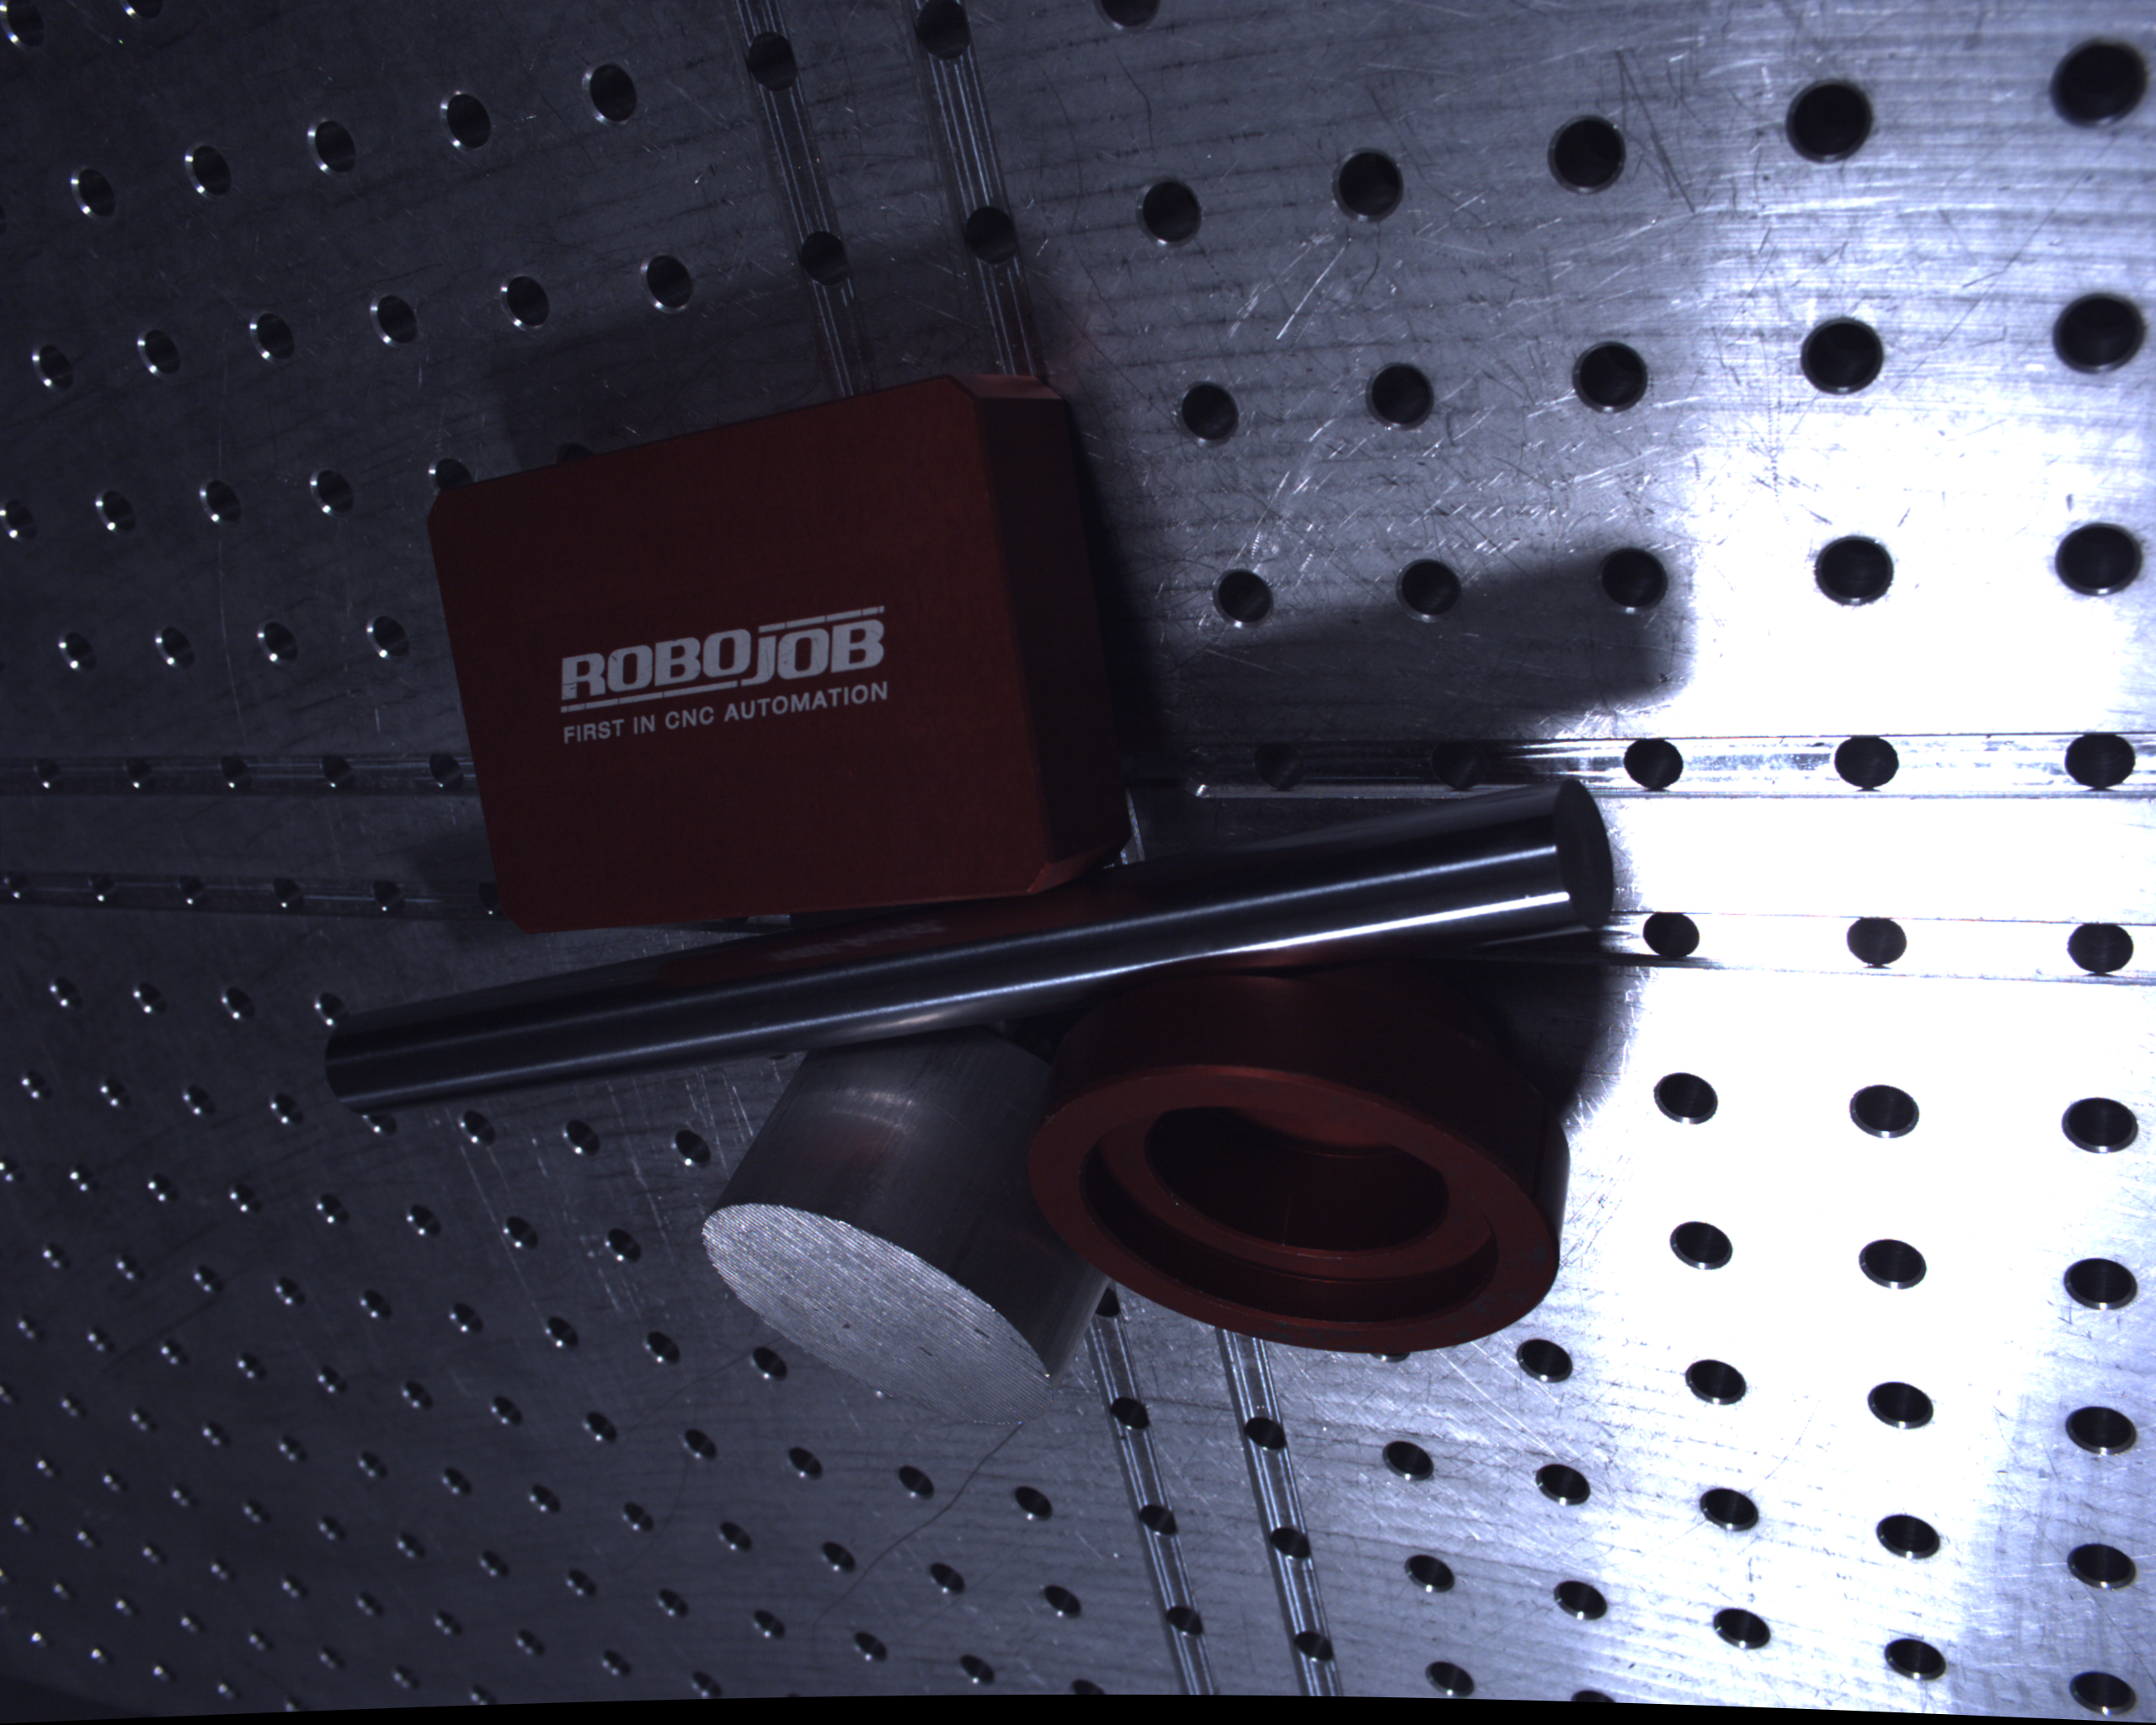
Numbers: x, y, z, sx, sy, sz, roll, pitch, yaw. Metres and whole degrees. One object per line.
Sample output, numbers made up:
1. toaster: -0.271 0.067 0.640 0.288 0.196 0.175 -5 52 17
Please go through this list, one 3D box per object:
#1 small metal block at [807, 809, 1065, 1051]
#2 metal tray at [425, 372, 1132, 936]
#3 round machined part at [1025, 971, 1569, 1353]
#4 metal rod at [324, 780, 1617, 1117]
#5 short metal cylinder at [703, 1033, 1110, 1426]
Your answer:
1. small metal block: -0.029 0.014 0.445 0.050 0.025 0.050 17 125 18
2. metal tray: -0.060 -0.036 0.397 0.130 0.030 0.089 -5 97 29
3. round machined part: 0.043 0.051 0.393 0.098 0.042 0.097 11 143 9
4. metal rod: -0.043 0.023 0.413 0.300 0.025 0.025 -11 113 32
5. short metal cylinder: -0.031 0.076 0.441 0.080 0.050 0.080 19 145 14
